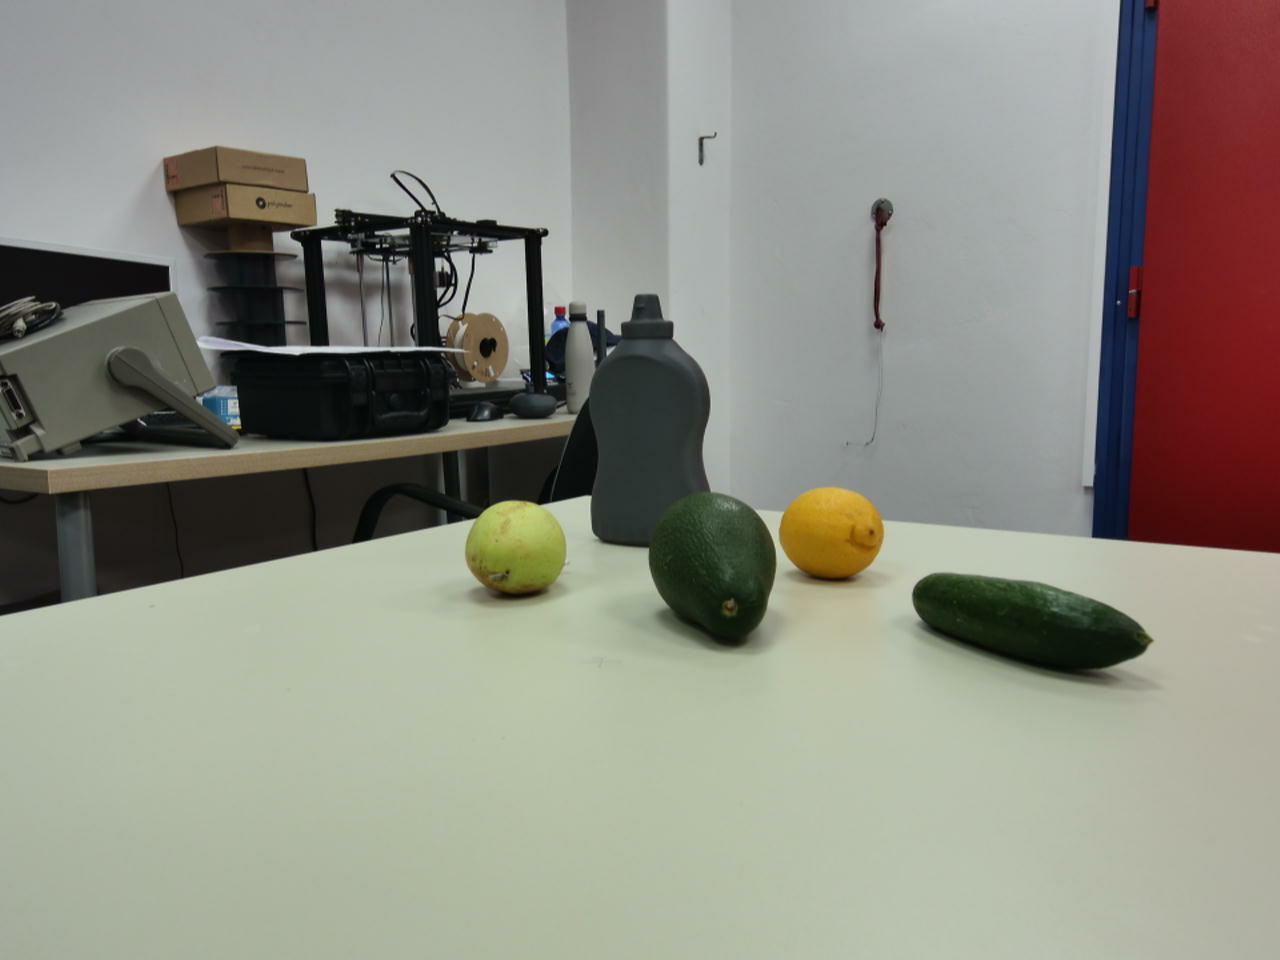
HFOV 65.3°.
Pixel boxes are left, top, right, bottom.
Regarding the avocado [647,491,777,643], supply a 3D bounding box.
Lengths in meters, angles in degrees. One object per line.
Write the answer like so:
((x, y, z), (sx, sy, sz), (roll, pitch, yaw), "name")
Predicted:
((0.037, 0.044, 0.545), (0.073, 0.071, 0.109), (2, 6, 13), "avocado")
